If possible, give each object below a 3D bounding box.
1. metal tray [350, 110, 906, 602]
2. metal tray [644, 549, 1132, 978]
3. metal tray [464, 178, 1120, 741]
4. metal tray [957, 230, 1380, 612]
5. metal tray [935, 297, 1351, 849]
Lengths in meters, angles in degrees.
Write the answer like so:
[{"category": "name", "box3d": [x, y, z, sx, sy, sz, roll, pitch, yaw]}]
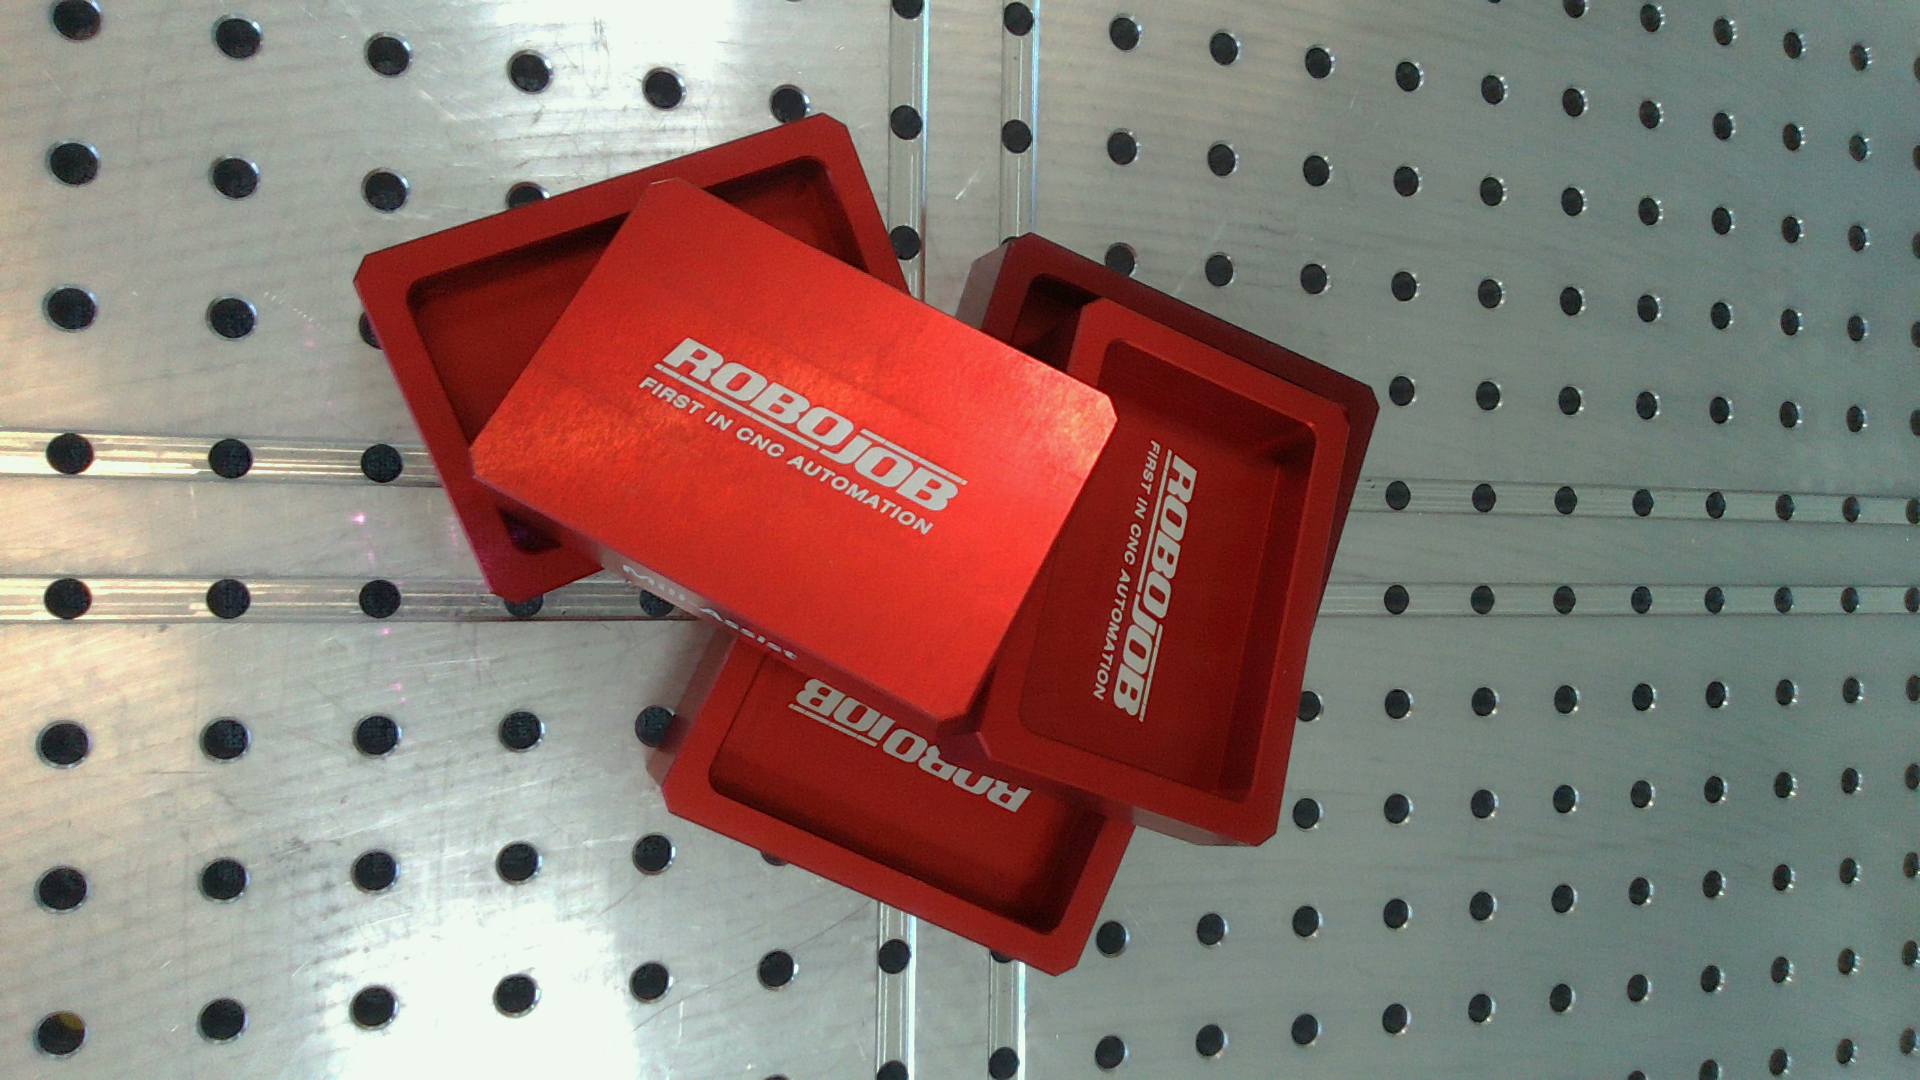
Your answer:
[{"category": "metal tray", "box3d": [-0.078, -0.049, 0.364, 0.130, 0.030, 0.090, -24, 98, -18]}, {"category": "metal tray", "box3d": [-0.010, 0.057, 0.389, 0.130, 0.030, 0.090, 28, 81, -18]}, {"category": "metal tray", "box3d": [-0.039, -0.020, 0.336, 0.130, 0.030, 0.090, 27, 73, 4]}, {"category": "metal tray", "box3d": [0.055, -0.025, 0.412, 0.130, 0.030, 0.090, 20, 83, -18]}, {"category": "metal tray", "box3d": [0.053, 0.010, 0.379, 0.090, 0.030, 0.130, 21, 72, -18]}]
